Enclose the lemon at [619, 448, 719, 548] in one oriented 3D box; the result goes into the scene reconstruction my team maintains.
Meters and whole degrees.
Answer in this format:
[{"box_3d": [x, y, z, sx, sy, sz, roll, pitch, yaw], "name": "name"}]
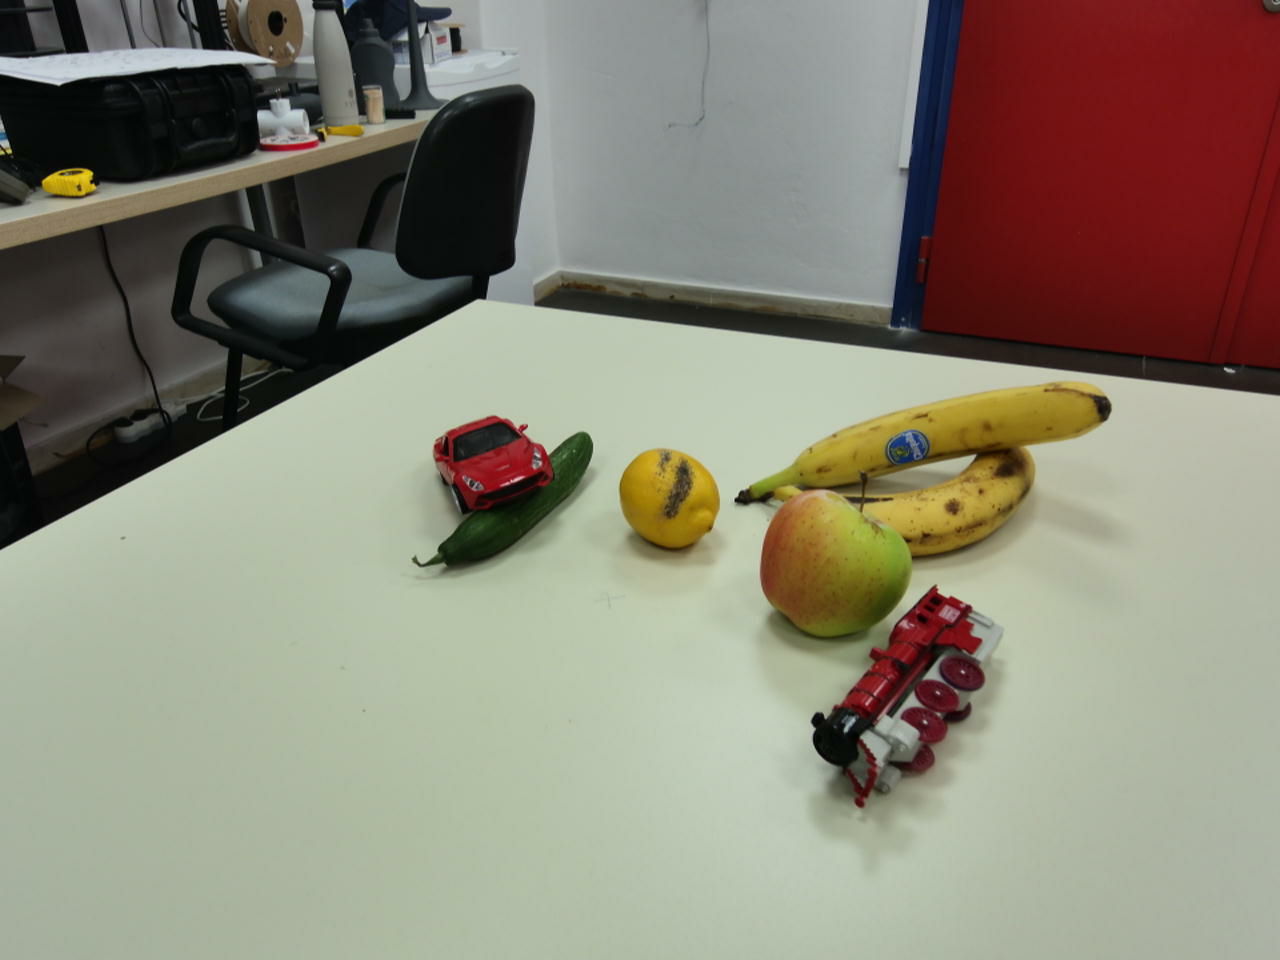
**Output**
[{"box_3d": [0.017, 0.011, 0.596, 0.061, 0.056, 0.058, 8, 27, 15], "name": "lemon"}]
